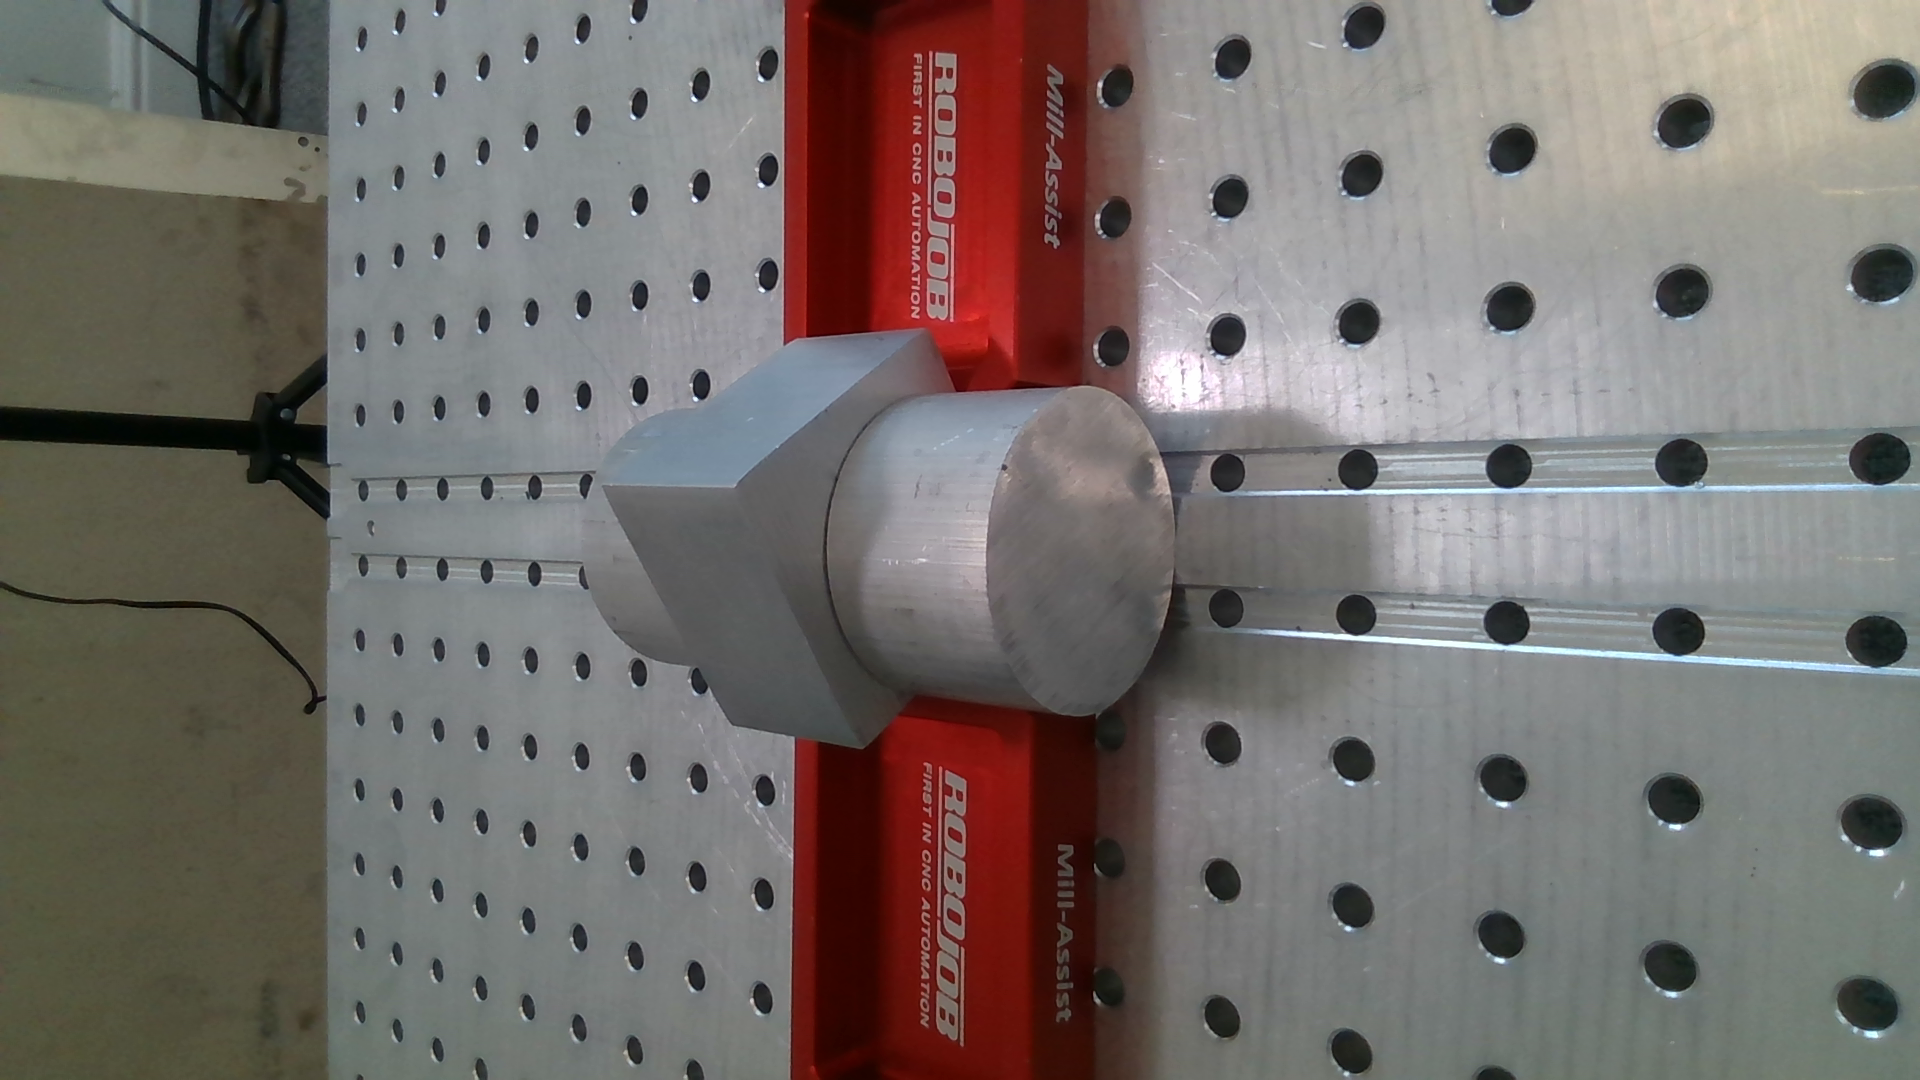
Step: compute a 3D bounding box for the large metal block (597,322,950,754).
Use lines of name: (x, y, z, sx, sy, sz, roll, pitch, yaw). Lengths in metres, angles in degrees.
large metal block: (-0.036, -0.002, 0.369, 0.050, 0.080, 0.080, 3, 126, 40)

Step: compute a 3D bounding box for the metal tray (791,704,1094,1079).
metal tray: (-0.007, 0.105, 0.397, 0.090, 0.030, 0.130, 1, 91, 40)

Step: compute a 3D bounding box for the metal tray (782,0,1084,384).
metal tray: (-0.010, -0.103, 0.397, 0.090, 0.030, 0.130, 2, 91, 40)

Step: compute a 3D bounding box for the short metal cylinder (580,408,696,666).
short metal cylinder: (-0.065, 0.000, 0.412, 0.050, 0.080, 0.080, 2, 92, 40)

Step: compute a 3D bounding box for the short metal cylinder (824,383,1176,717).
short metal cylinder: (0.012, 0.002, 0.347, 0.050, 0.080, 0.080, 2, 91, 40)
